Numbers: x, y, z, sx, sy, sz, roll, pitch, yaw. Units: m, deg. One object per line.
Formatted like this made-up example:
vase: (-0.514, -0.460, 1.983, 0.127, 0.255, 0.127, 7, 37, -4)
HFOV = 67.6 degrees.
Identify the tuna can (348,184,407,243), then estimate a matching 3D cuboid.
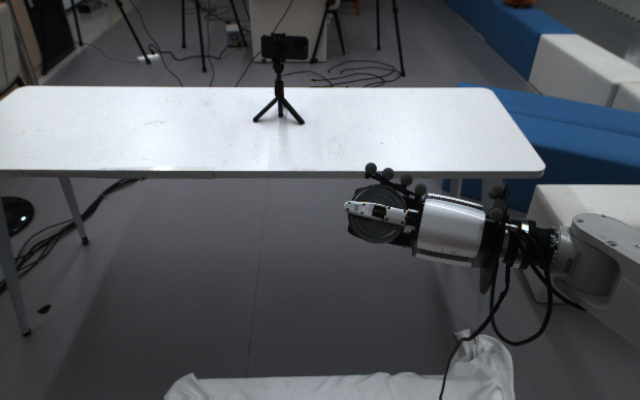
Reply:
tuna can: (0.086, 0.018, 0.706, 0.085, 0.085, 0.034, 14, -7, 16)
